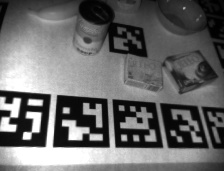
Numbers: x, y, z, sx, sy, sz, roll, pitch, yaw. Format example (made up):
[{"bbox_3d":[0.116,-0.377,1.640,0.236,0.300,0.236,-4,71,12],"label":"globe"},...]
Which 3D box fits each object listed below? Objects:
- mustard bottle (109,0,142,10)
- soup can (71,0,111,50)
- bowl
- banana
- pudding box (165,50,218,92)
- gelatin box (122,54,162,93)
[{"bbox_3d":[0.059,-0.280,0.530,0.097,0.191,0.058,6,57,-15],"label":"mustard bottle"},{"bbox_3d":[-0.049,-0.134,0.466,0.068,0.102,0.067,10,57,-15],"label":"soup can"},{"bbox_3d":[0.203,-0.208,0.637,0.163,0.055,0.161,8,59,-13],"label":"bowl"},{"bbox_3d":[-0.104,-0.216,0.542,0.073,0.039,0.198,37,56,16],"label":"banana"},{"bbox_3d":[0.201,-0.042,0.548,0.115,0.038,0.089,-17,74,-26],"label":"pudding box"},{"bbox_3d":[0.070,-0.029,0.500,0.090,0.030,0.073,12,61,-12],"label":"gelatin box"}]
